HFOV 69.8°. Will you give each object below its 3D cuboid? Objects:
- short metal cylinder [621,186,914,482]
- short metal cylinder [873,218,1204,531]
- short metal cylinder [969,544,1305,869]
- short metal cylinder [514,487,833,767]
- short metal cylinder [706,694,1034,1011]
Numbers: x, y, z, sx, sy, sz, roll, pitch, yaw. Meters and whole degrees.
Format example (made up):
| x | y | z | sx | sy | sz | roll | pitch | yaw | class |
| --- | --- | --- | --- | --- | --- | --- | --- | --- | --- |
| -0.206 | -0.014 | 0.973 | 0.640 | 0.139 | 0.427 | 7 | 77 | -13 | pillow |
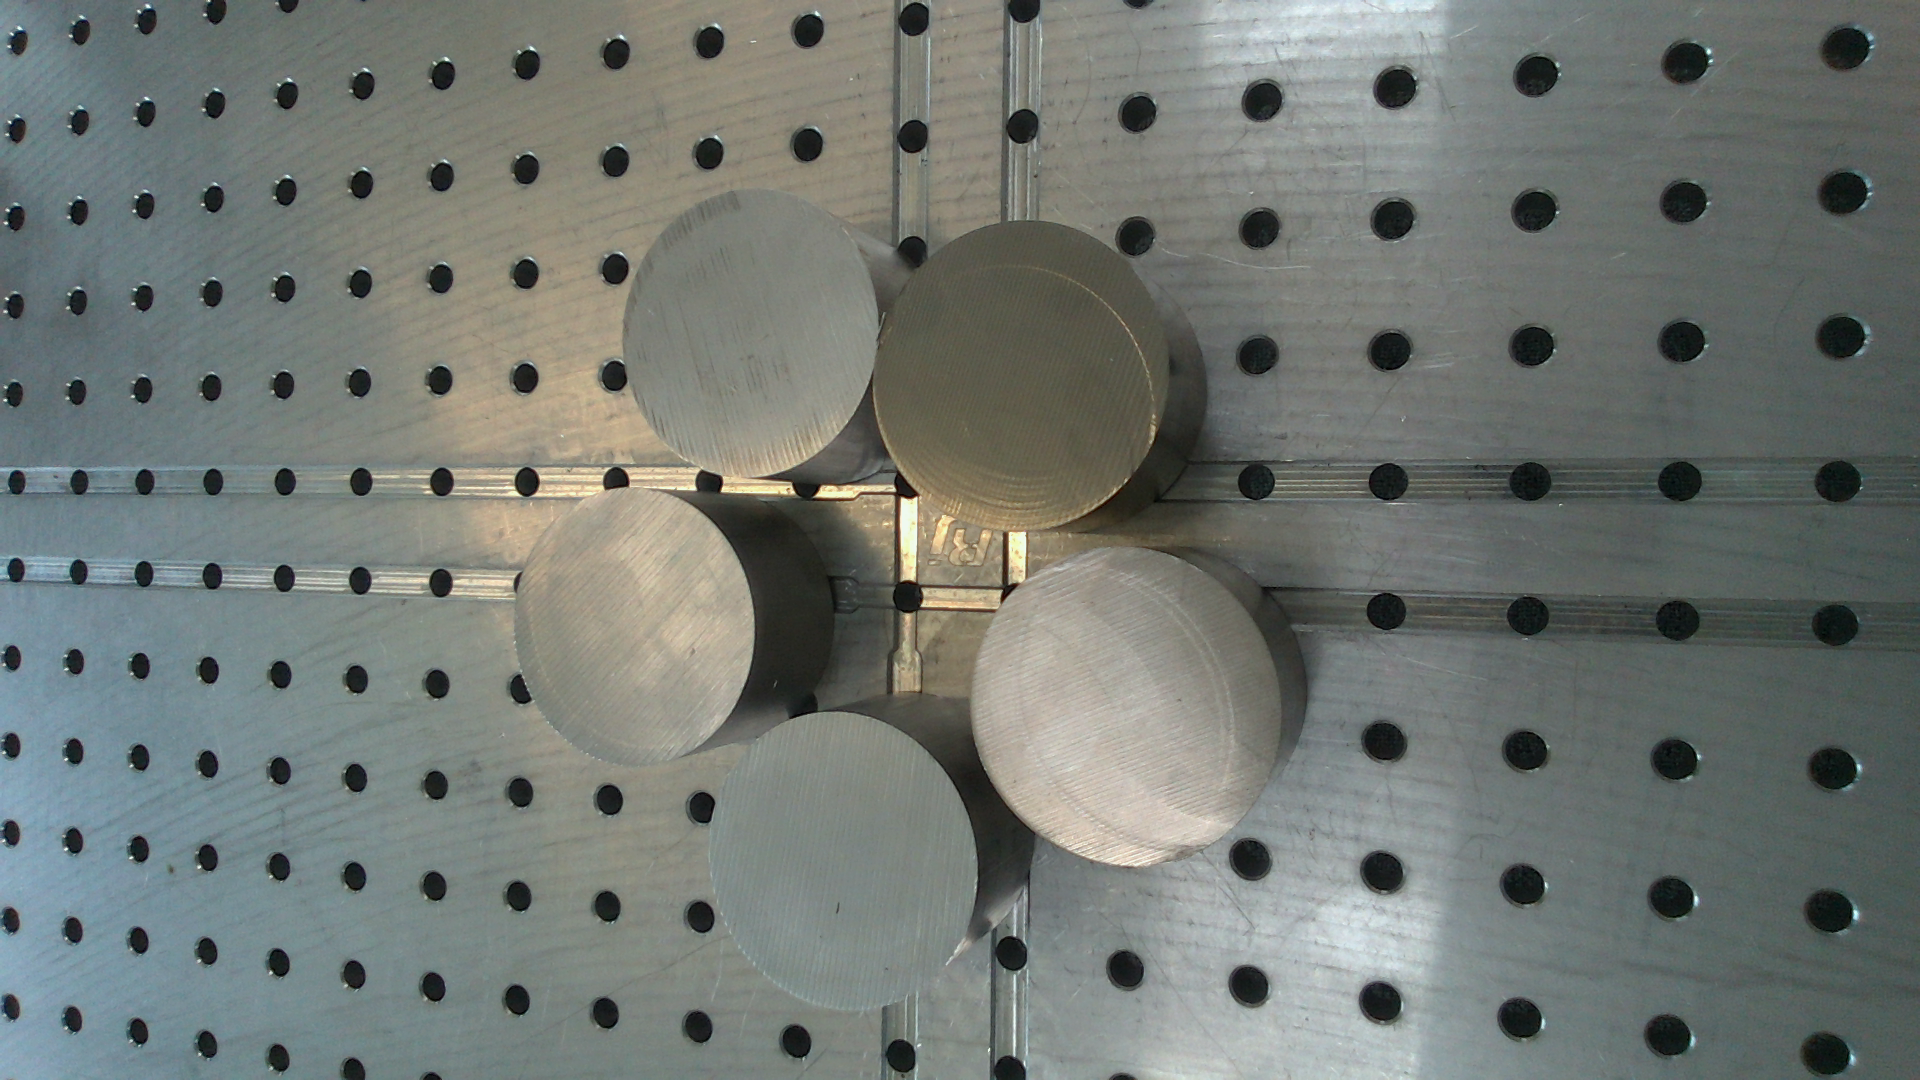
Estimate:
| x | y | z | sx | sy | sz | roll | pitch | yaw | class |
| --- | --- | --- | --- | --- | --- | --- | --- | --- | --- |
| -0.051 | -0.058 | 0.403 | 0.080 | 0.050 | 0.080 | 0 | 90 | 20 | short metal cylinder |
| 0.023 | -0.043 | 0.376 | 0.080 | 0.050 | 0.080 | 0 | 90 | 20 | short metal cylinder |
| 0.048 | 0.042 | 0.367 | 0.080 | 0.050 | 0.080 | 1 | 92 | 20 | short metal cylinder |
| -0.086 | 0.025 | 0.416 | 0.080 | 0.050 | 0.080 | 0 | 90 | 20 | short metal cylinder |
| -0.024 | 0.086 | 0.393 | 0.080 | 0.050 | 0.080 | 0 | 90 | 21 | short metal cylinder |
